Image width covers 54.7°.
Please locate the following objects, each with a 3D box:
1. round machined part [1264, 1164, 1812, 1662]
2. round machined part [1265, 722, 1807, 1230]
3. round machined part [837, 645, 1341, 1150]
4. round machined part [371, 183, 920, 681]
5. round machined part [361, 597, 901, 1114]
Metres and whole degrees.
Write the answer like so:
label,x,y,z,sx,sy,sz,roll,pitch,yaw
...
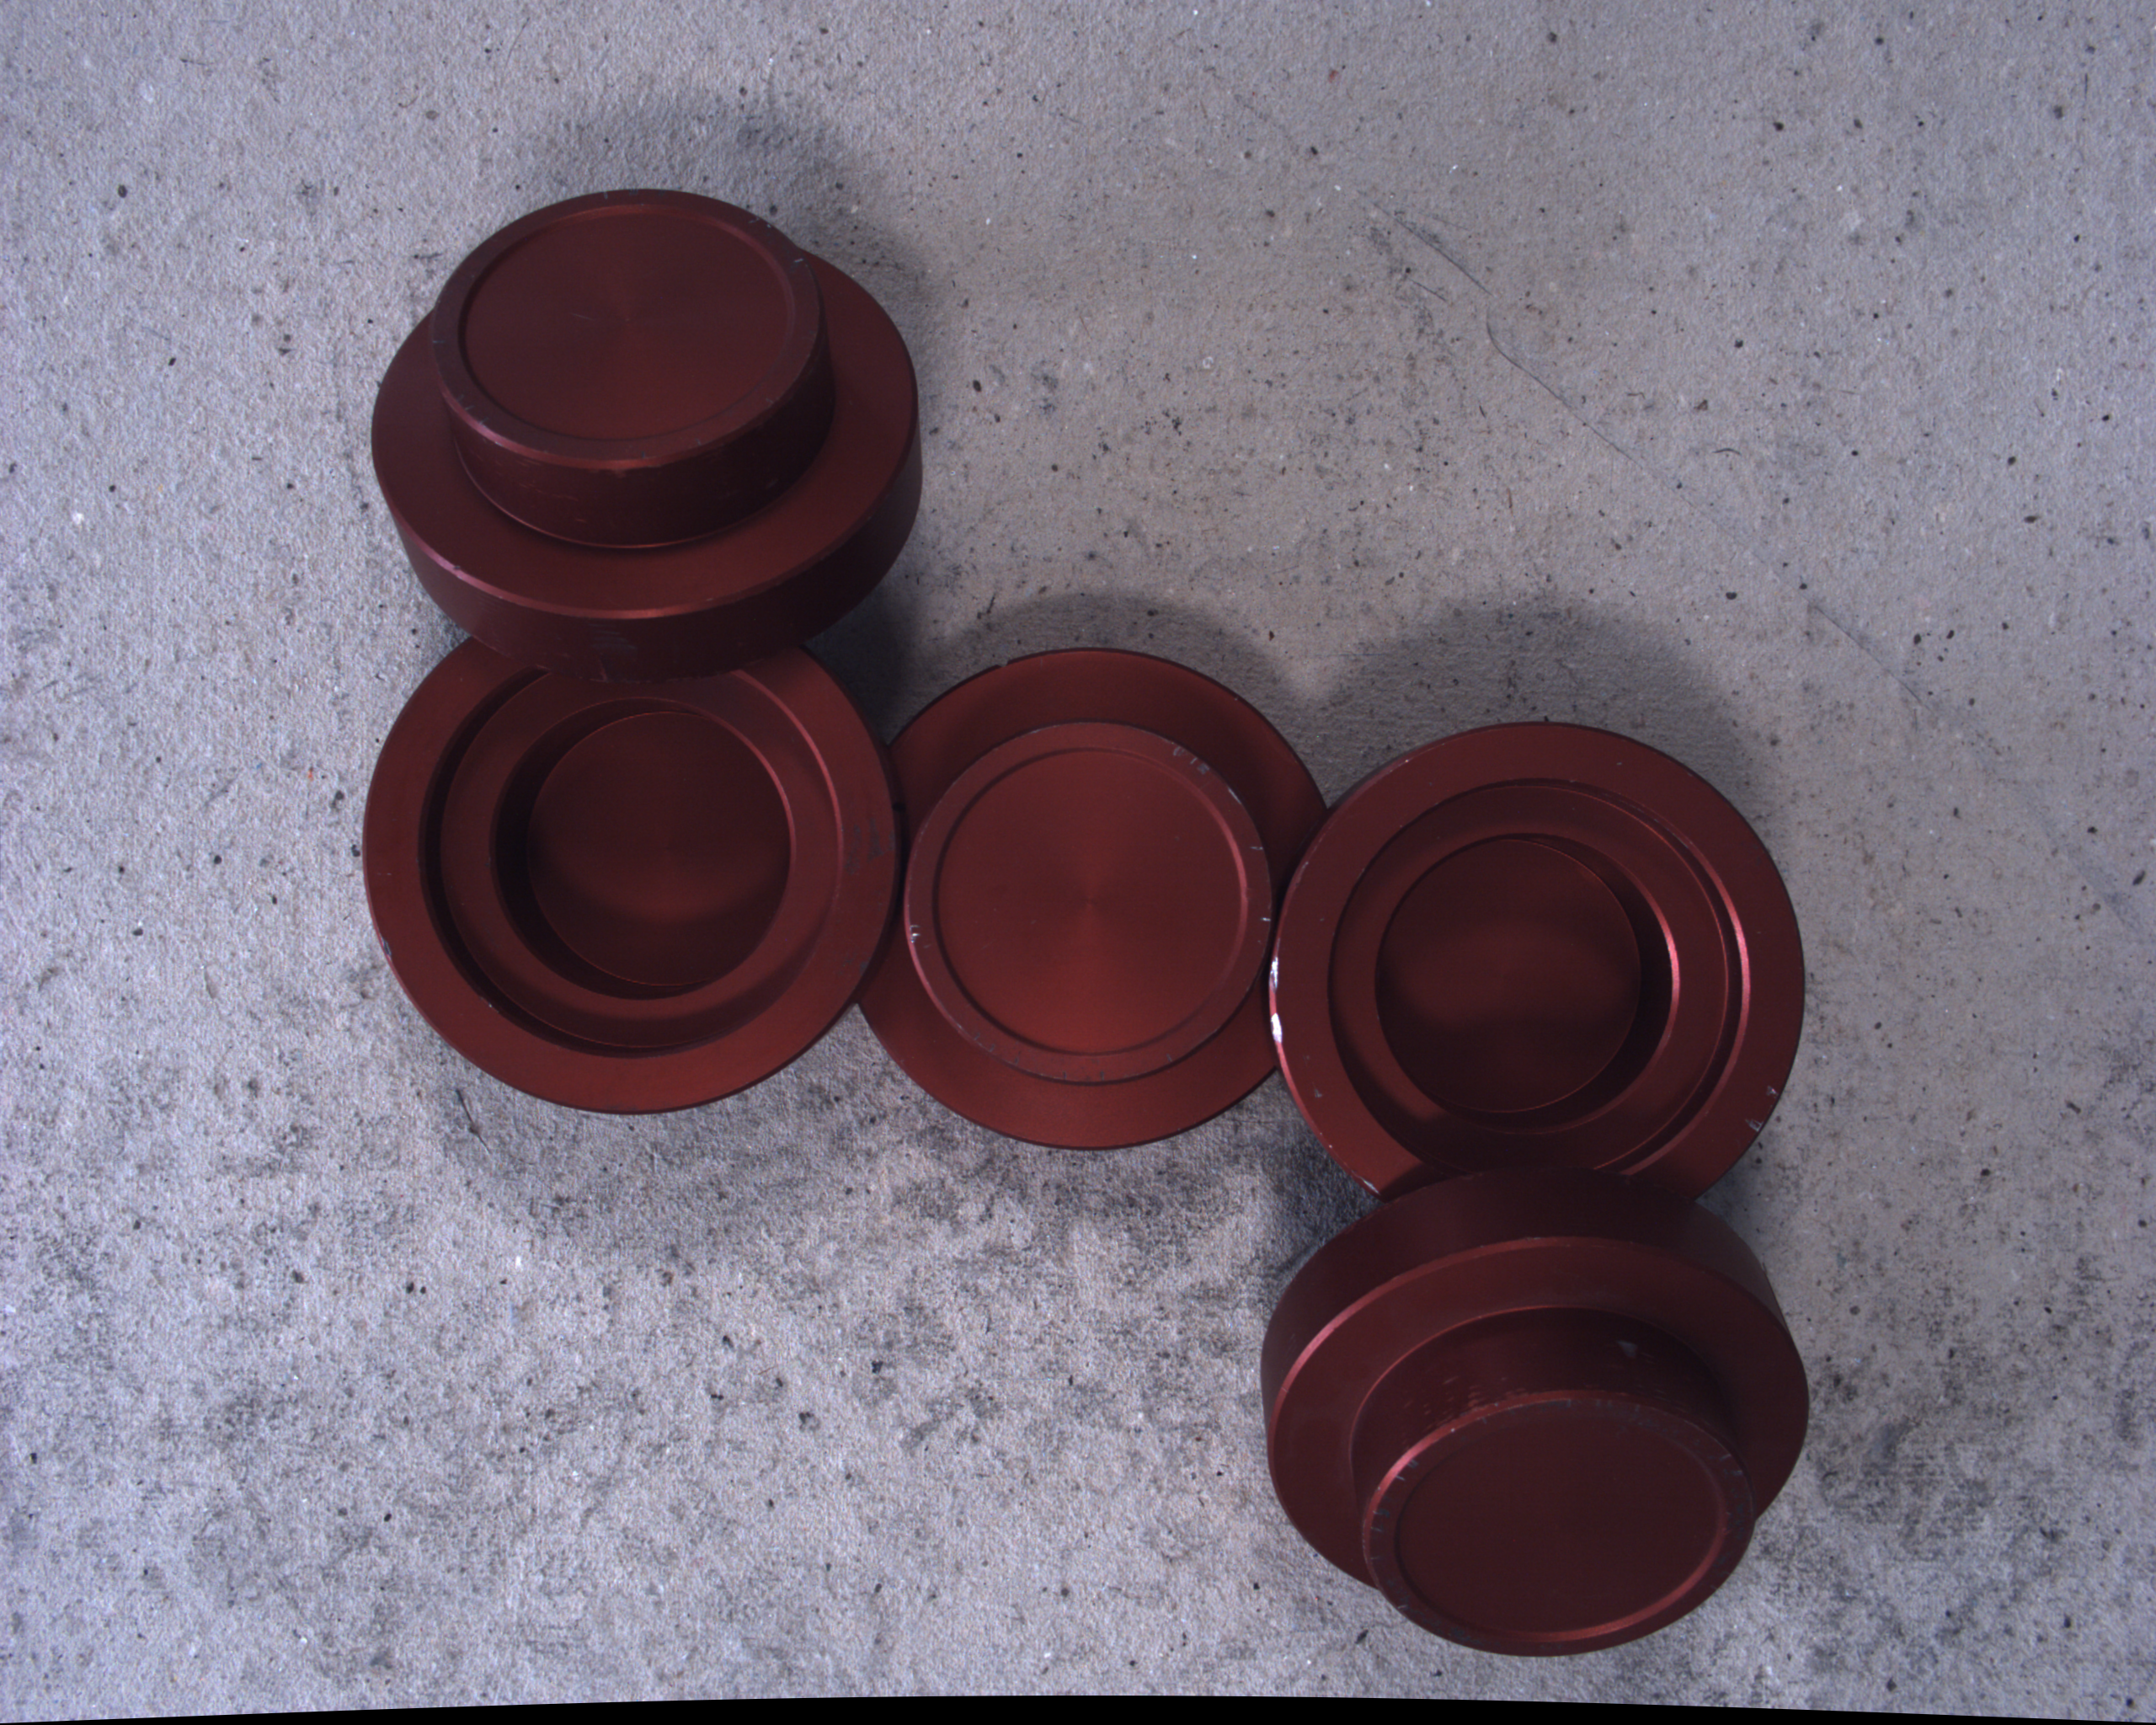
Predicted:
label,x,y,z,sx,sy,sz,roll,pitch,yaw
round machined part,0.084,0.106,0.380,0.099,0.042,0.097,0,119,0
round machined part,0.085,0.023,0.402,0.099,0.042,0.097,0,90,1
round machined part,0.002,0.007,0.401,0.099,0.042,0.097,0,88,1
round machined part,-0.079,-0.084,0.379,0.099,0.042,0.098,1,59,-1
round machined part,-0.082,-0.003,0.401,0.099,0.042,0.097,0,90,1
